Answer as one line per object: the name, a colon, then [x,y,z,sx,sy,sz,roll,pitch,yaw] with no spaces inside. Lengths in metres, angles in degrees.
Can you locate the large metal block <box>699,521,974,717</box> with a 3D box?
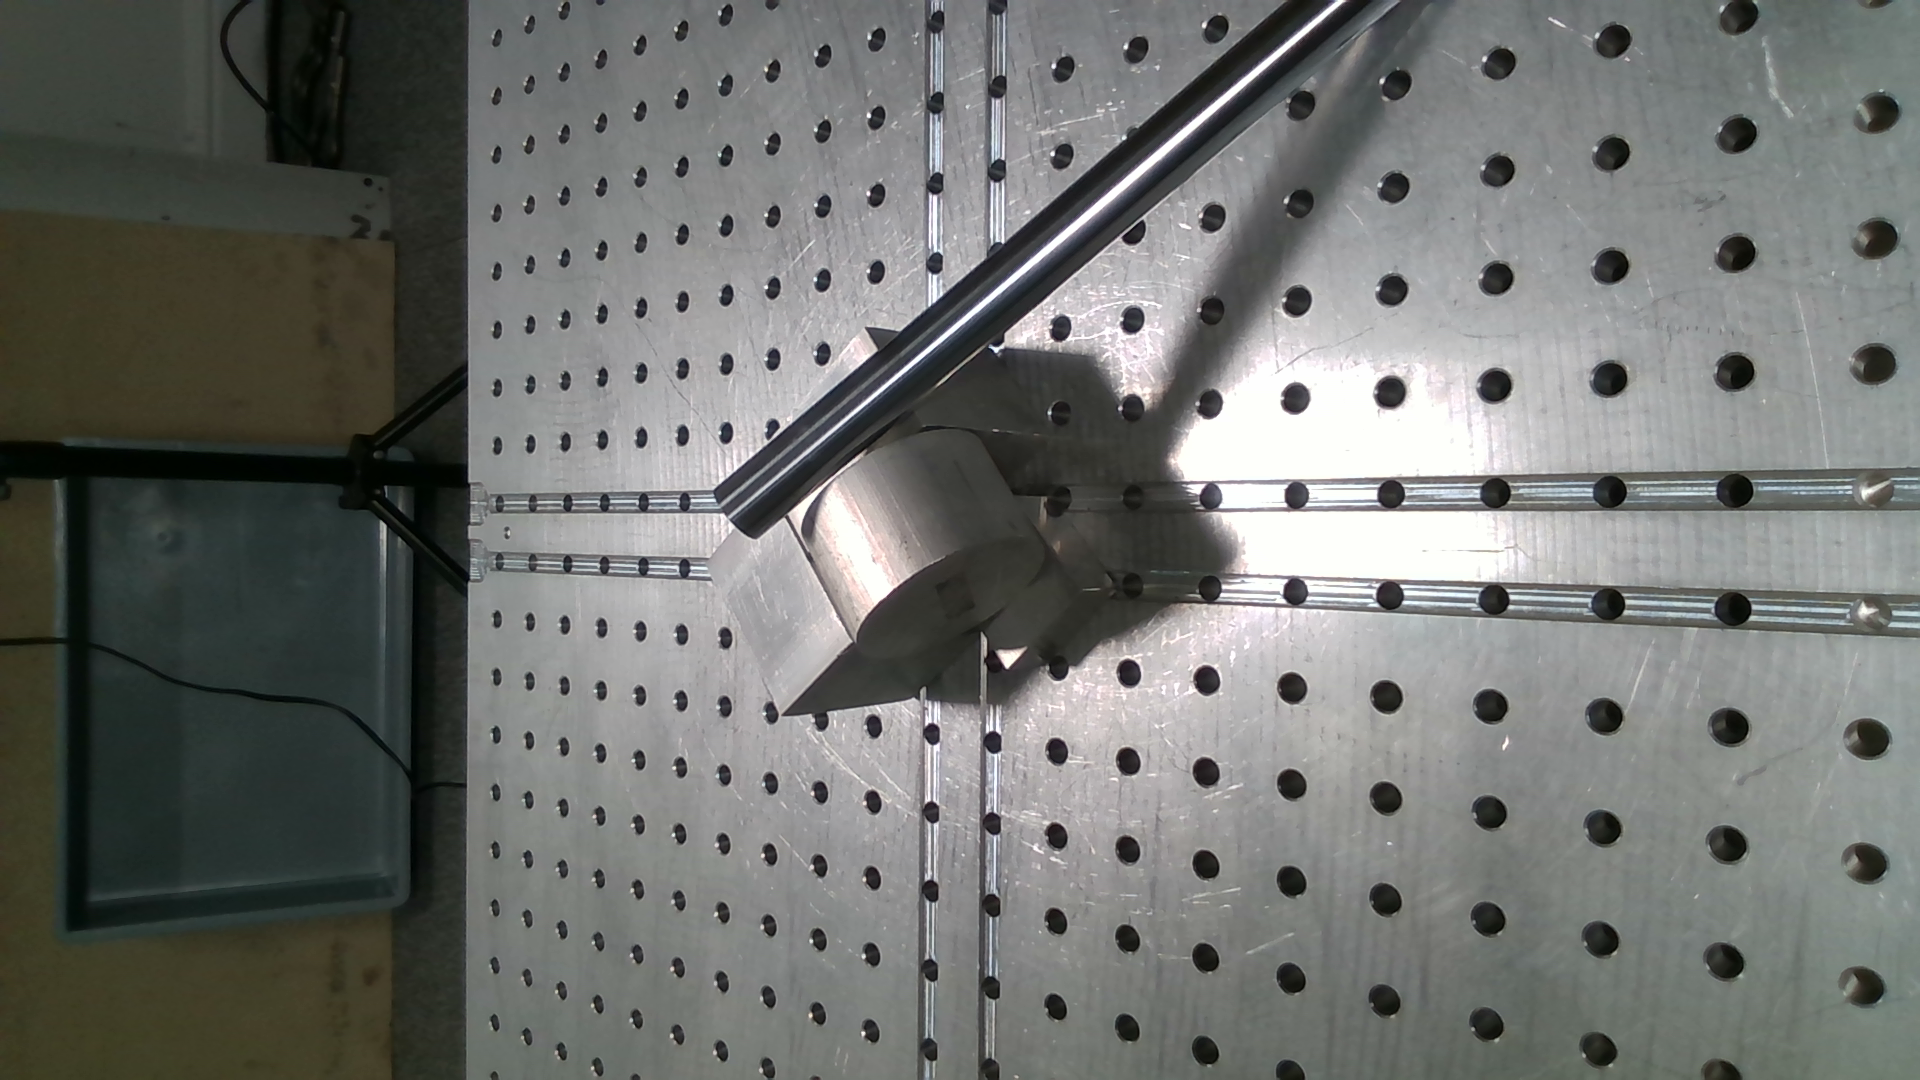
large metal block: [-0.052,0.025,0.591,0.050,0.080,0.080,-45,63,31]

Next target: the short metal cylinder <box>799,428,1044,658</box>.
short metal cylinder: [-0.015,0.002,0.528,0.080,0.080,0.050,-44,63,31]

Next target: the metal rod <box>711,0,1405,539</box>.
metal rod: [0.031,-0.103,0.490,0.300,0.025,0.025,-39,65,10]

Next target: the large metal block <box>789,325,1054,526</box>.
large metal block: [-0.023,-0.038,0.569,0.080,0.080,0.050,-45,63,31]

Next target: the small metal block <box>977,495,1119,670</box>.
small metal block: [0.028,0.017,0.562,0.050,0.025,0.050,-50,61,29]
